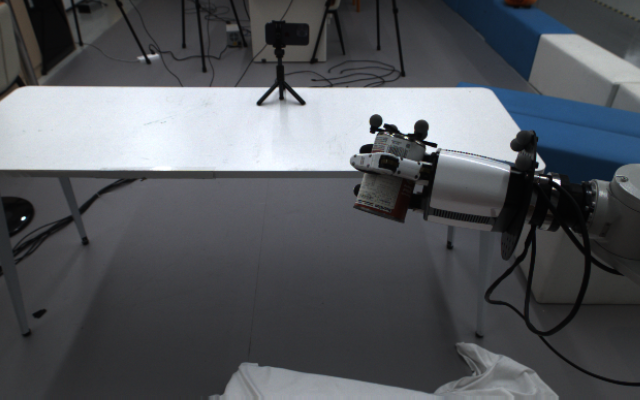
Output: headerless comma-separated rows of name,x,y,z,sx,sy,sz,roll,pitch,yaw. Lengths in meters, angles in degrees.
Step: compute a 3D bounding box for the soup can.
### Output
soup can,0.091,-0.029,0.621,0.067,0.101,0.067,17,-1,0
